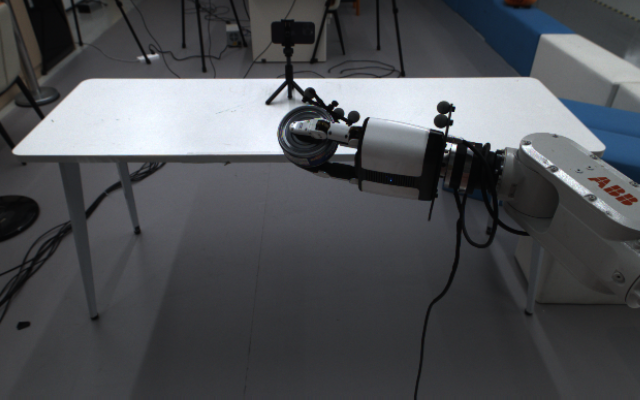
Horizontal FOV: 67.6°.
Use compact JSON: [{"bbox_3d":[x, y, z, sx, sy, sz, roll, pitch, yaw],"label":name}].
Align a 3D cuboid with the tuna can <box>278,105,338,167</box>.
[{"bbox_3d":[-0.016,-0.094,0.694,0.085,0.034,0.085,-4,69,10],"label":"tuna can"}]
